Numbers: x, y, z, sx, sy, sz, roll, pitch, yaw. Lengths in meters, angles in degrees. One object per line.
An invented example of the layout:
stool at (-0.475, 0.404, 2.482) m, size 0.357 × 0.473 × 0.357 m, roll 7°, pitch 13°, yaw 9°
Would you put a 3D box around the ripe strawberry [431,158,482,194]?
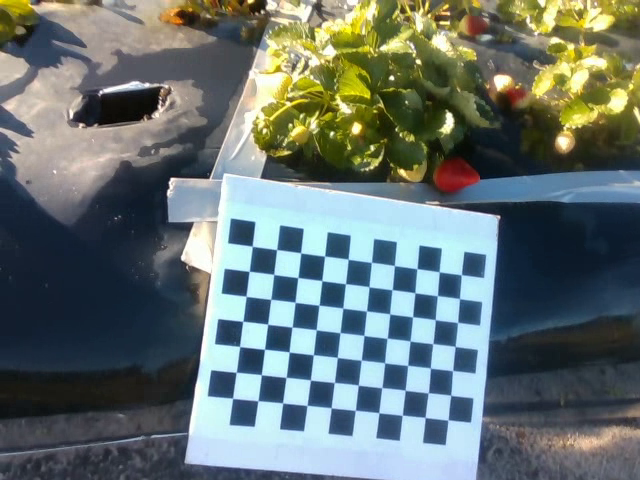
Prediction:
ripe strawberry at (0.151, -0.068, 0.693) m, size 0.049 × 0.045 × 0.064 m, roll 36°, pitch -9°, yaw -35°
